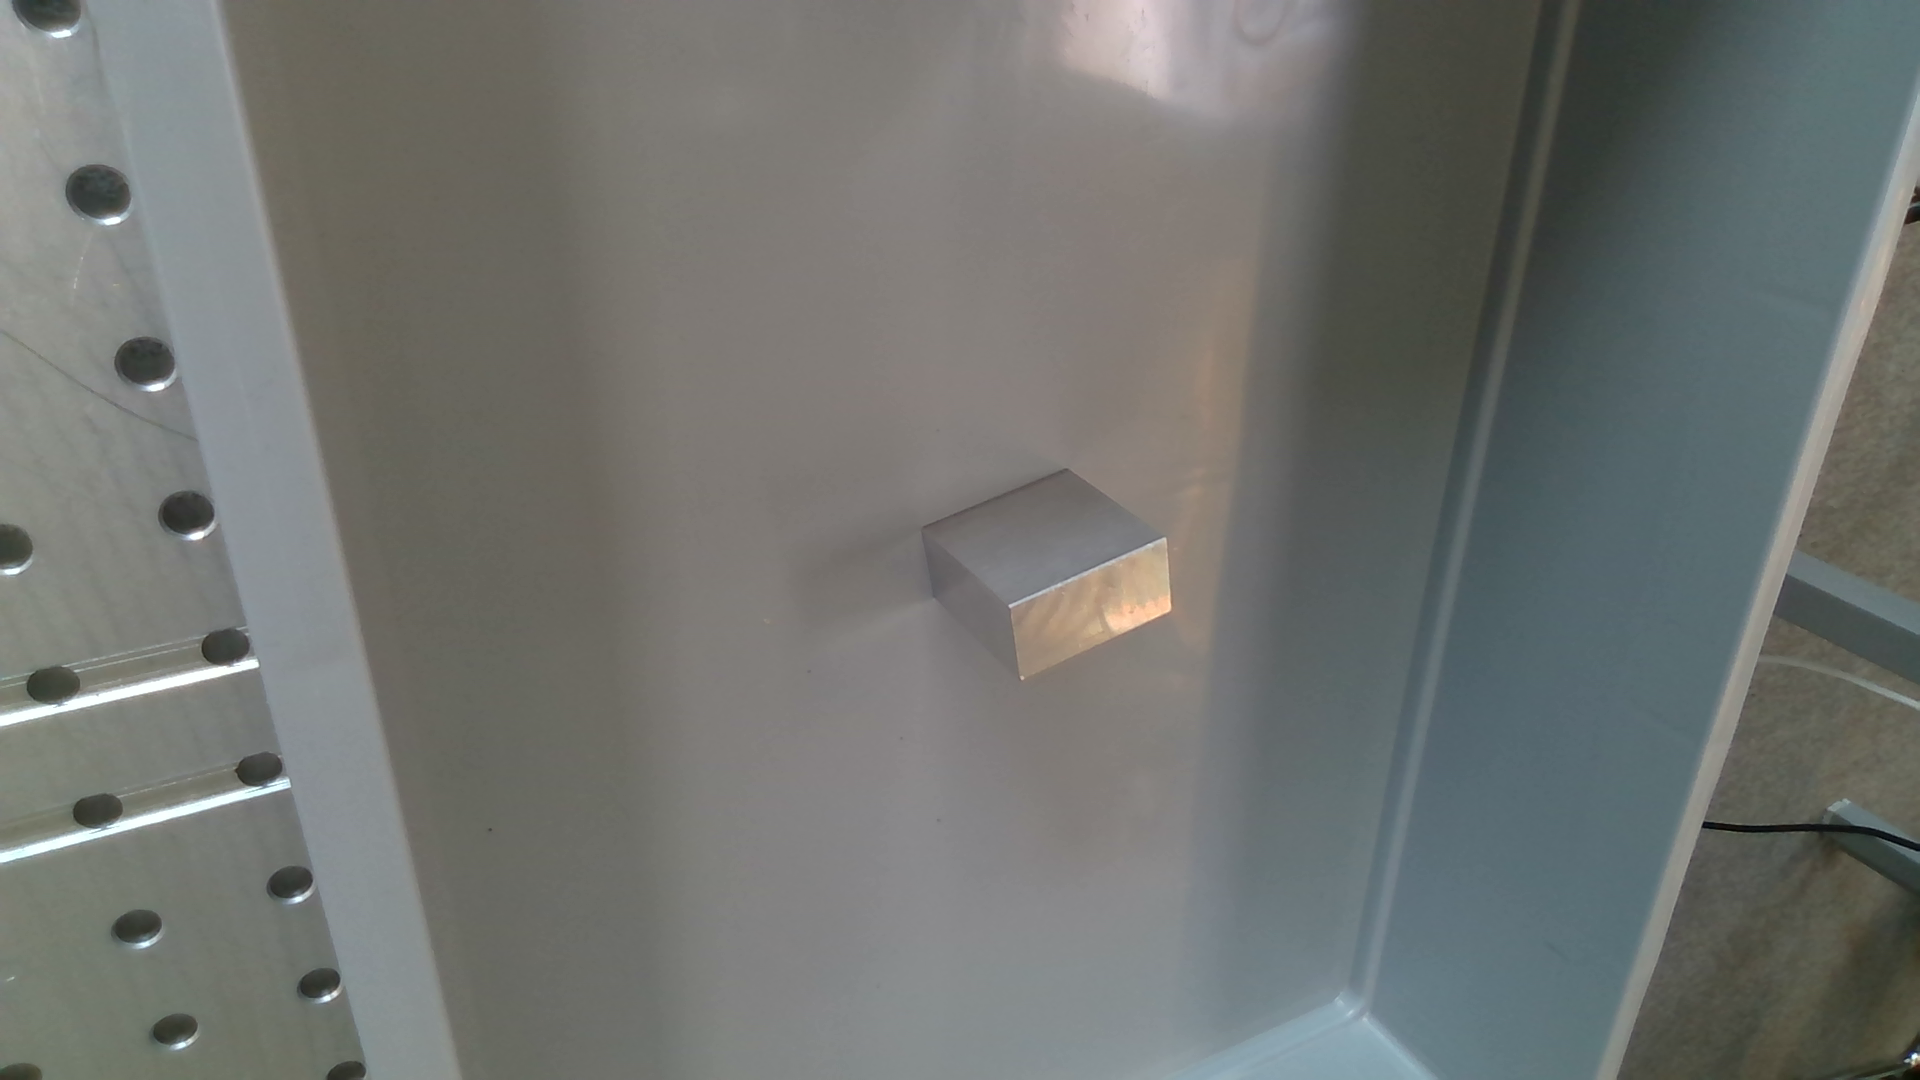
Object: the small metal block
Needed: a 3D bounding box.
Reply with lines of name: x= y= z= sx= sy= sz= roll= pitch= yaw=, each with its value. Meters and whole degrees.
small metal block: x=0.024 y=0.008 z=0.388 sx=0.050 sy=0.050 sz=0.025 roll=-23 pitch=125 yaw=-21
